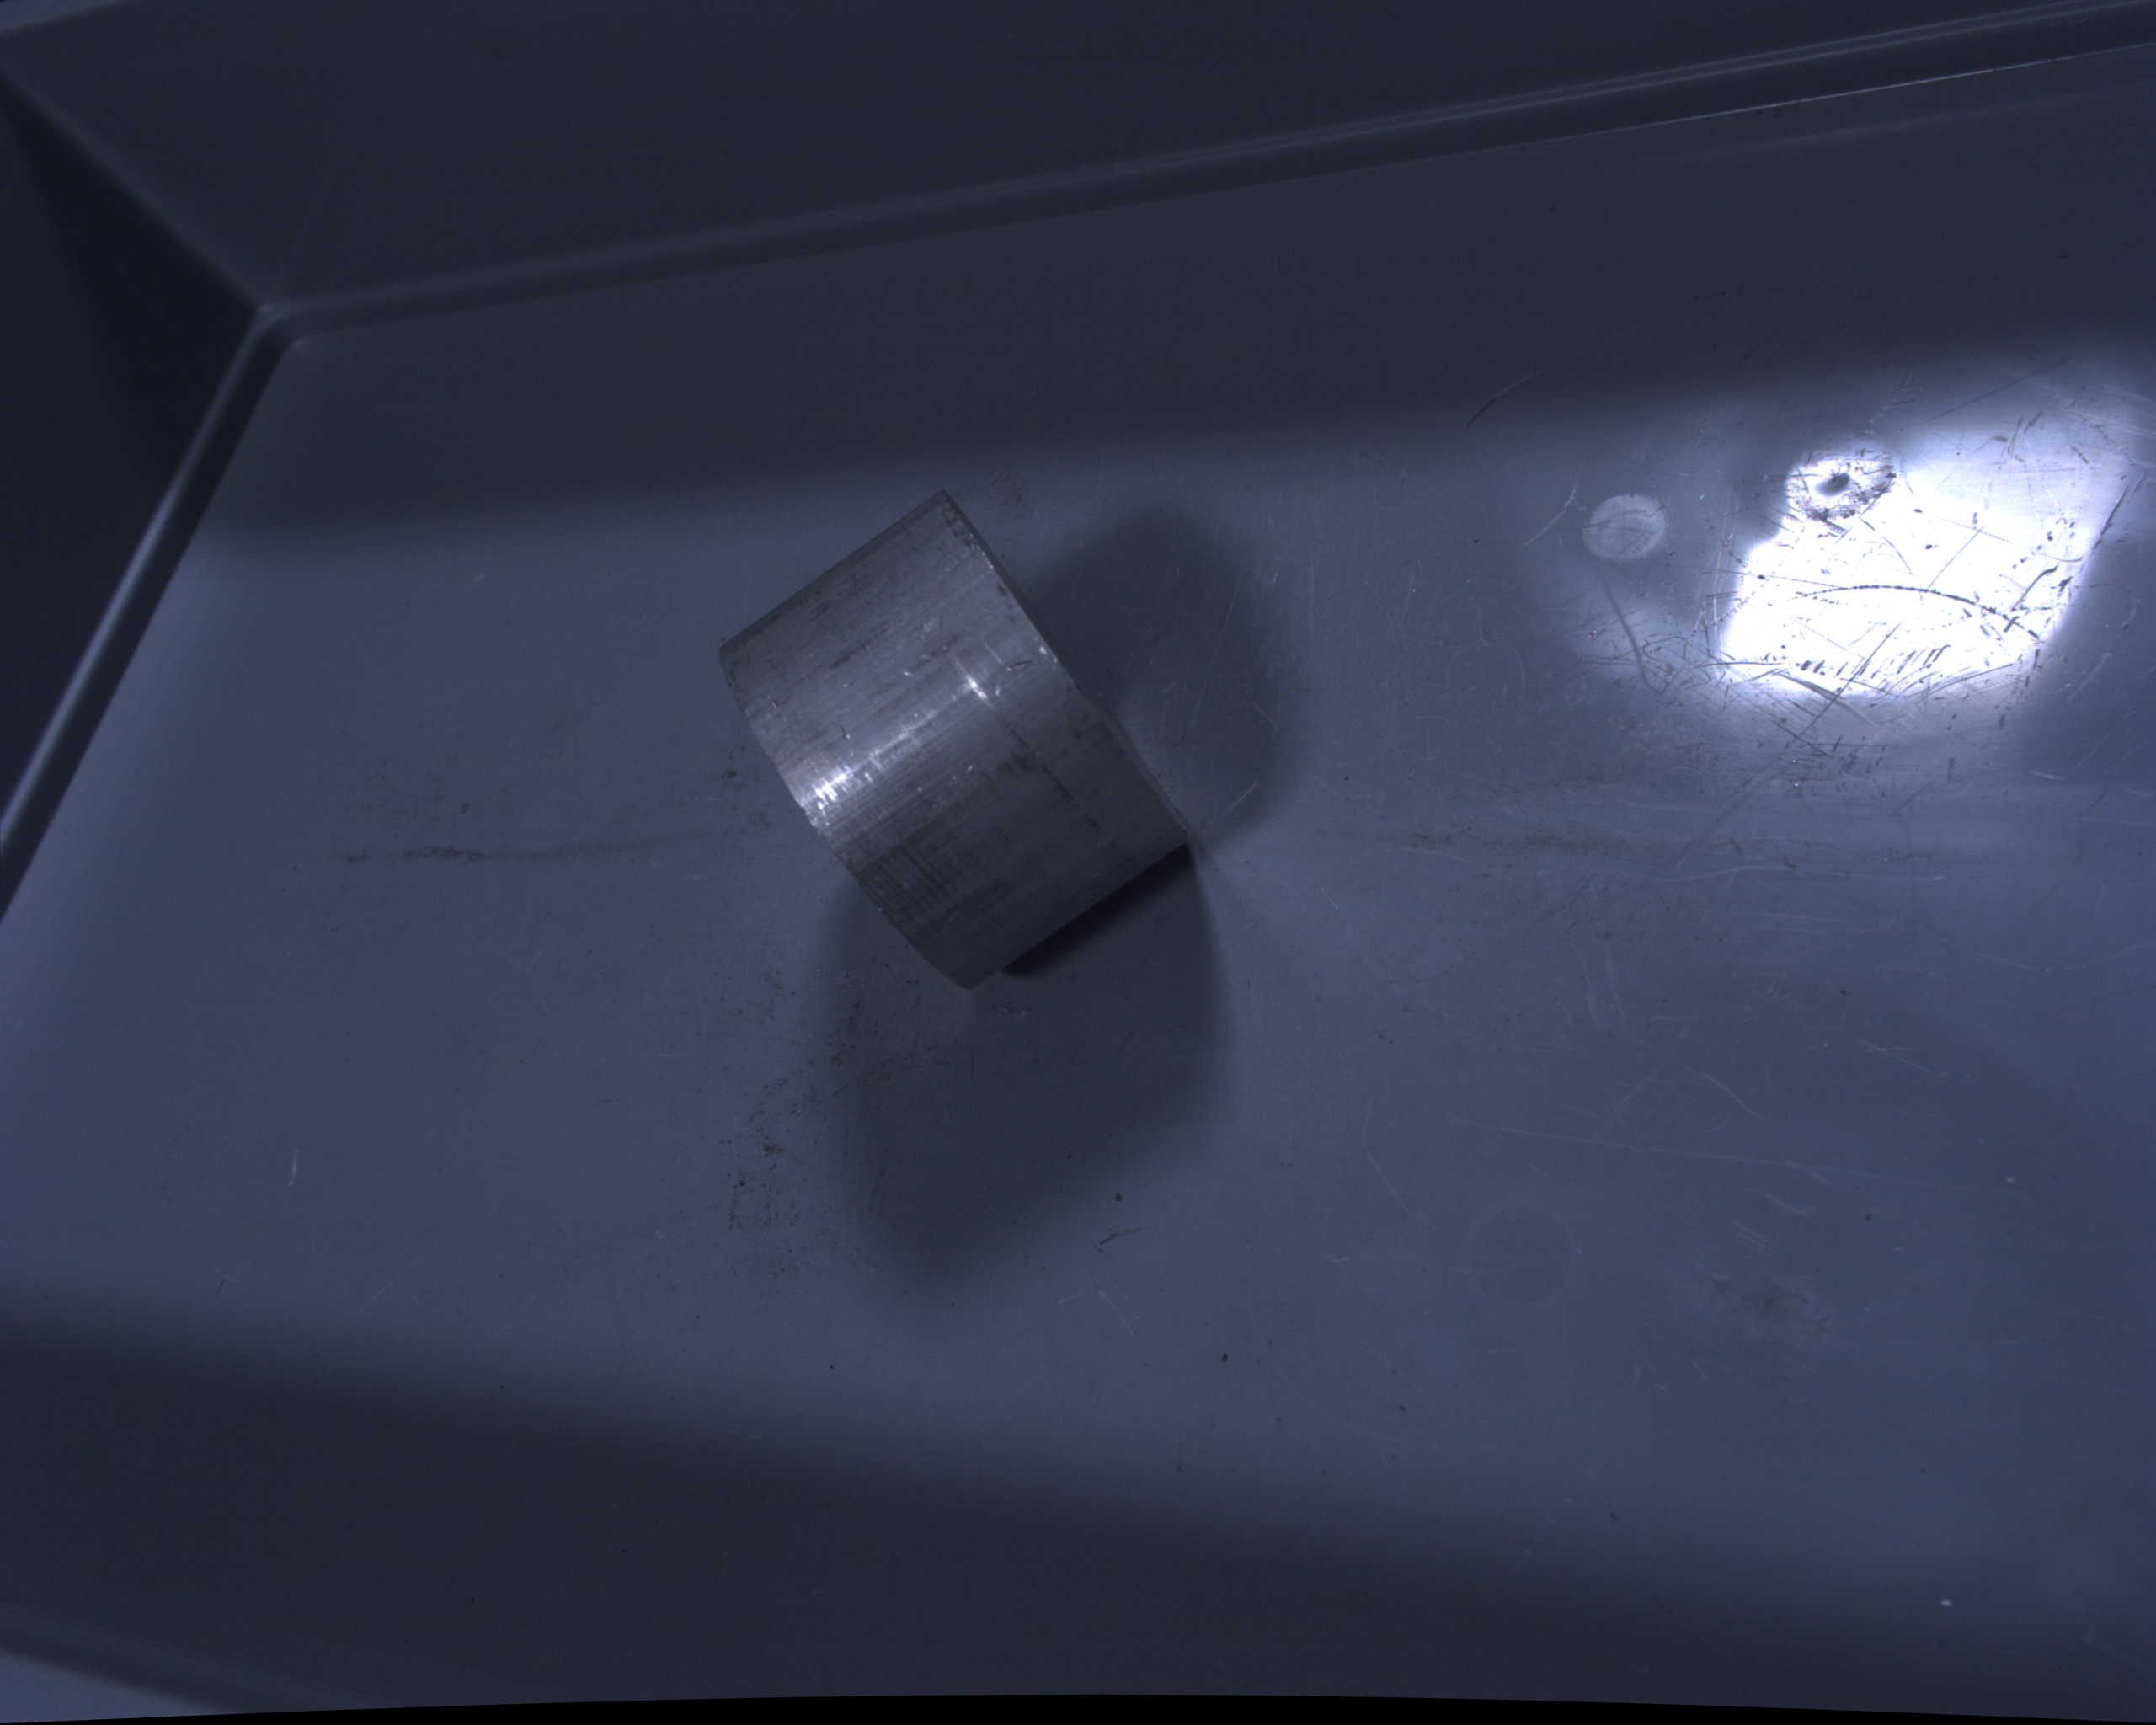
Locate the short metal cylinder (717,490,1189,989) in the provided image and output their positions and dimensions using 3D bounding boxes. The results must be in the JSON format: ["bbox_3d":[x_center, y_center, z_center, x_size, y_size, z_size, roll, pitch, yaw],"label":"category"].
[{"bbox_3d":[-0.022,-0.023,0.392,0.050,0.080,0.080,-36,51,4],"label":"short metal cylinder"}]
